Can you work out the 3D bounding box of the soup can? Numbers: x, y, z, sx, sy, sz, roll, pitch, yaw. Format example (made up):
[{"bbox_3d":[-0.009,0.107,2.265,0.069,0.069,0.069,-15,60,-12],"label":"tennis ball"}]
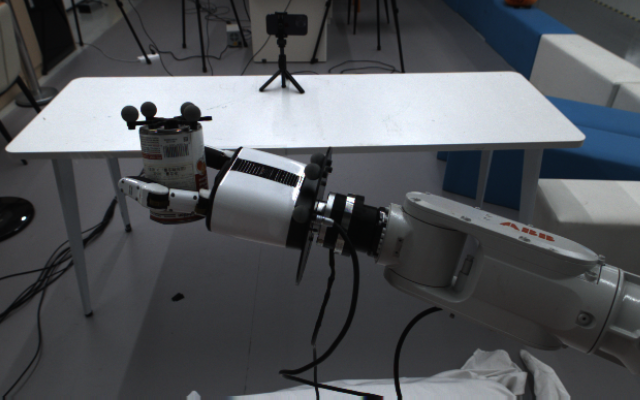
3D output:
[{"bbox_3d":[-0.158,-0.030,0.535,0.067,0.101,0.067,-2,17,0],"label":"soup can"}]
